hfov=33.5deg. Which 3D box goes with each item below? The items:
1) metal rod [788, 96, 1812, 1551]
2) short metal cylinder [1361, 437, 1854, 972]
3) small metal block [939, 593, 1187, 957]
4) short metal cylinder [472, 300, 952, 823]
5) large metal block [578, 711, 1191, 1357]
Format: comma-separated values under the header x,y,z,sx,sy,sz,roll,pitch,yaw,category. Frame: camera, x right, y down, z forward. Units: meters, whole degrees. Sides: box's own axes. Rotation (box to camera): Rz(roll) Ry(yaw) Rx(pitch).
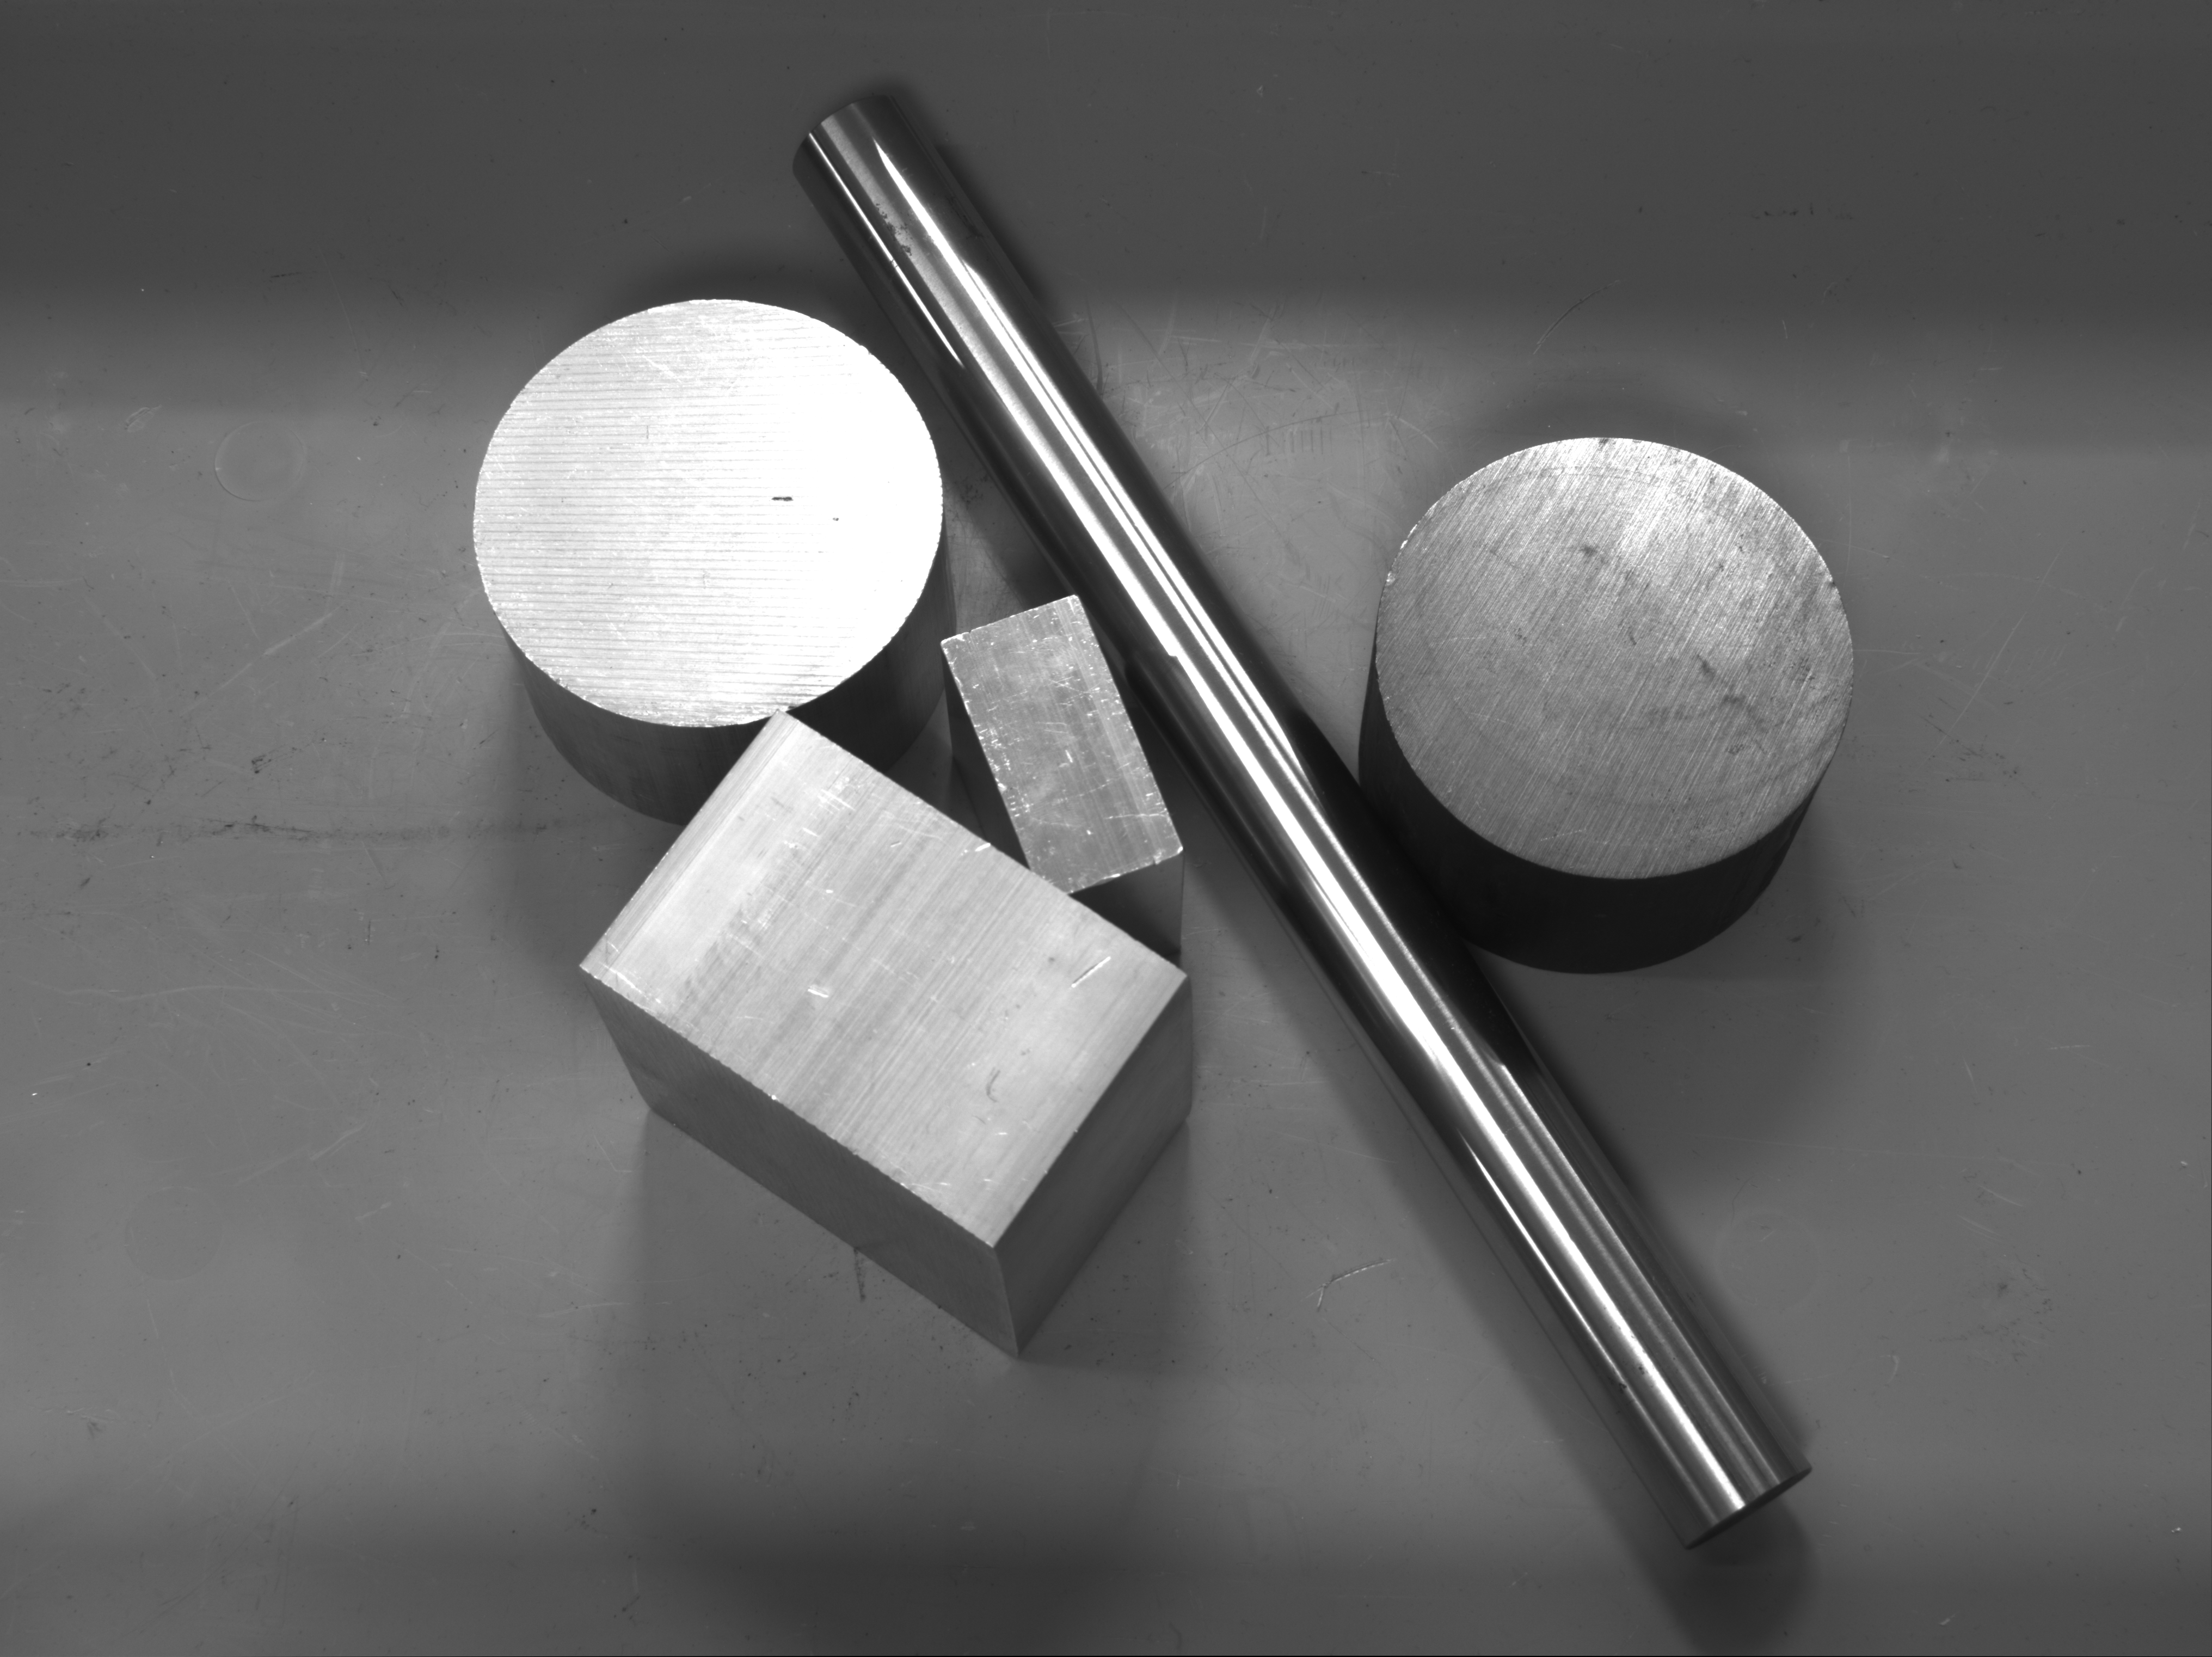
x,y,z,sx,sy,sz,roll,pitch,yaw,category
0.028,-0.009,0.647,0.025,0.025,0.300,-29,73,-10,metal rod
0.085,-0.021,0.638,0.080,0.050,0.080,0,70,0,short metal cylinder
-0.007,-0.005,0.632,0.025,0.050,0.050,-20,71,-7,small metal block
-0.067,-0.046,0.648,0.080,0.050,0.080,0,70,0,short metal cylinder
-0.033,0.036,0.601,0.080,0.080,0.050,32,74,12,large metal block
